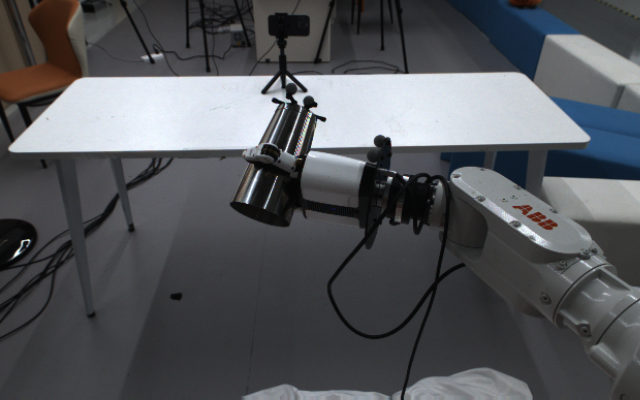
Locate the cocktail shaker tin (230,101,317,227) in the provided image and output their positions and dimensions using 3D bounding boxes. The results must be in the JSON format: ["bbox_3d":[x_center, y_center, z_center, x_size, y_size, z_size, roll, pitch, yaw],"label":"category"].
[{"bbox_3d":[-0.062,-0.055,0.720,0.093,0.093,0.170,14,73,17],"label":"cocktail shaker tin"}]
